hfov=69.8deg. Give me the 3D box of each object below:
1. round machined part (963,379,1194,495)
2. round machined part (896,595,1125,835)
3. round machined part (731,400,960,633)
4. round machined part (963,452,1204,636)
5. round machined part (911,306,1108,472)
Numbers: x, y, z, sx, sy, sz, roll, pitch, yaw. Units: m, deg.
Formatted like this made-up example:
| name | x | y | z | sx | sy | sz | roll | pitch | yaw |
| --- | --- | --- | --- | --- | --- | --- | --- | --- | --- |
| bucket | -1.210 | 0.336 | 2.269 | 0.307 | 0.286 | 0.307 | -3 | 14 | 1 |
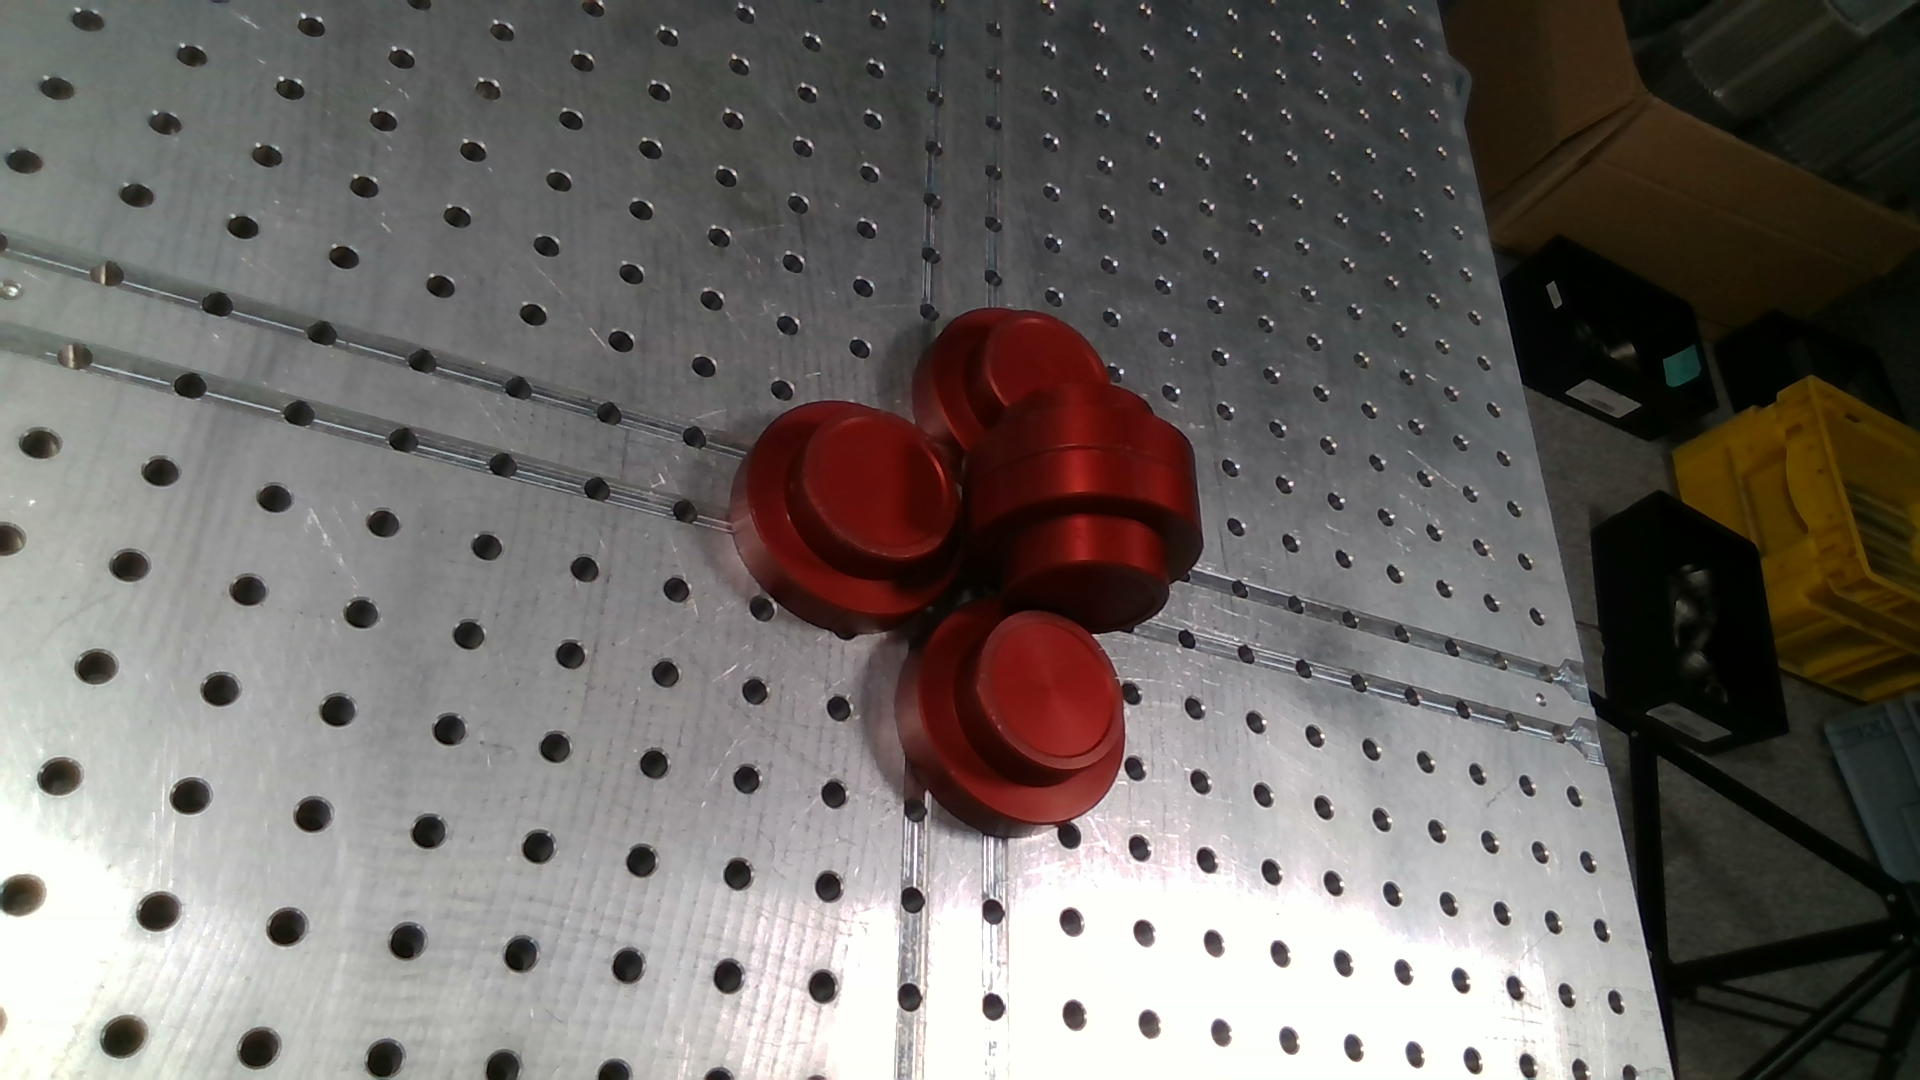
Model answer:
| name | x | y | z | sx | sy | sz | roll | pitch | yaw |
| --- | --- | --- | --- | --- | --- | --- | --- | --- | --- |
| round machined part | 0.050 | -0.031 | 0.581 | 0.098 | 0.098 | 0.042 | 15 | 58 | -24 |
| round machined part | 0.027 | 0.067 | 0.558 | 0.098 | 0.042 | 0.098 | 14 | 59 | -25 |
| round machined part | -0.041 | -0.015 | 0.561 | 0.098 | 0.042 | 0.098 | 14 | 59 | -25 |
| round machined part | 0.050 | 0.007 | 0.562 | 0.098 | 0.098 | 0.042 | 14 | 59 | -25 |
| round machined part | 0.030 | -0.066 | 0.632 | 0.098 | 0.042 | 0.098 | 14 | 59 | -25 |
